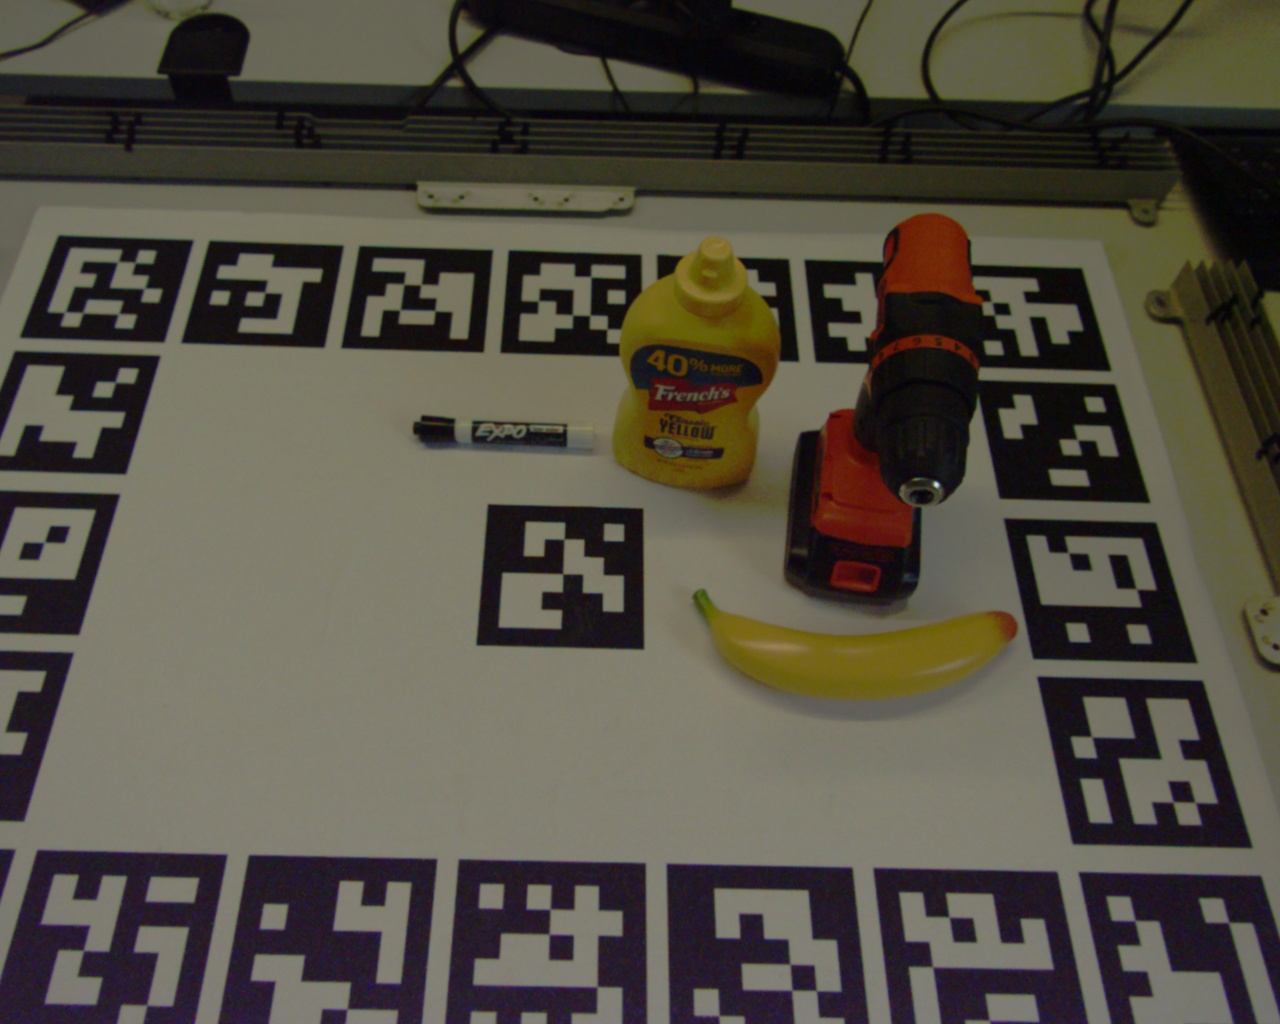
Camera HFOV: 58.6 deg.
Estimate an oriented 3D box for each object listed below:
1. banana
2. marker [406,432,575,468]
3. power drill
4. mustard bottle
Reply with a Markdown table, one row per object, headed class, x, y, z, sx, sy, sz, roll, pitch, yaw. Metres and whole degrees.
| class | x | y | z | sx | sy | sz | roll | pitch | yaw |
| --- | --- | --- | --- | --- | --- | --- | --- | --- | --- |
| banana | 0.114 | 0.097 | 0.731 | 0.198 | 0.039 | 0.074 | 8 | 61 | 4 |
| marker | -0.107 | -0.045 | 0.816 | 0.121 | 0.019 | 0.020 | 3 | 60 | 0 |
| power drill | 0.130 | -0.027 | 0.695 | 0.057 | 0.187 | 0.184 | 14 | 57 | 3 |
| mustard bottle | 0.024 | -0.077 | 0.740 | 0.096 | 0.191 | 0.058 | 12 | 59 | 3 |
